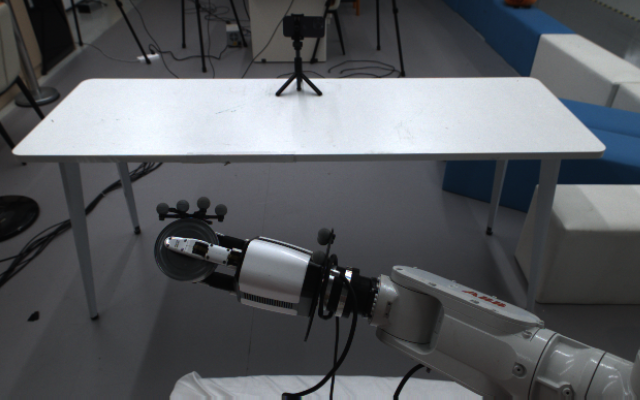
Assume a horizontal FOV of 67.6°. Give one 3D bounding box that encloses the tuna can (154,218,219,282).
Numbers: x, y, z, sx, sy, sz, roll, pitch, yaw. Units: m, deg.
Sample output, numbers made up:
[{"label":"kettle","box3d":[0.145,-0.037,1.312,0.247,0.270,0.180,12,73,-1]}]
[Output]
[{"label":"tuna can","box3d":[-0.173,0.071,0.660,0.085,0.034,0.085,1,73,-5]}]
